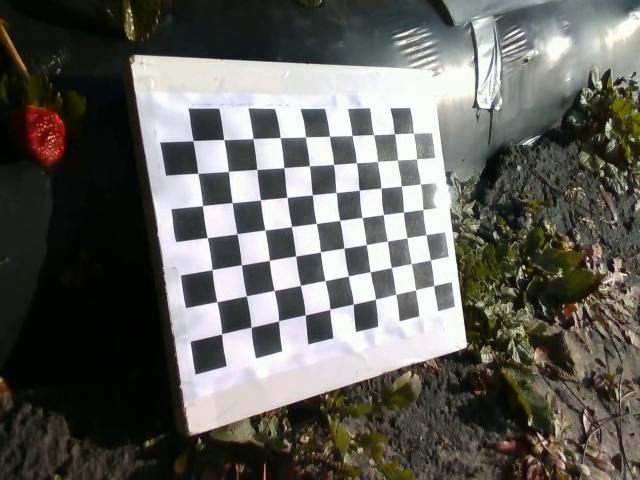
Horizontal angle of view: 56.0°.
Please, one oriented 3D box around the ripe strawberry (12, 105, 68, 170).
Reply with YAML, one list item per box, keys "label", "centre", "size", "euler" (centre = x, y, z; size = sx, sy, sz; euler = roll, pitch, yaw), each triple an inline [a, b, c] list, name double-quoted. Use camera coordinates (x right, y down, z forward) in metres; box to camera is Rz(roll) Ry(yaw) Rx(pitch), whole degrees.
- label: "ripe strawberry"
  centre: [-0.064, -0.024, 0.136]
  size: [0.015, 0.015, 0.023]
  euler: [1, 34, -34]
